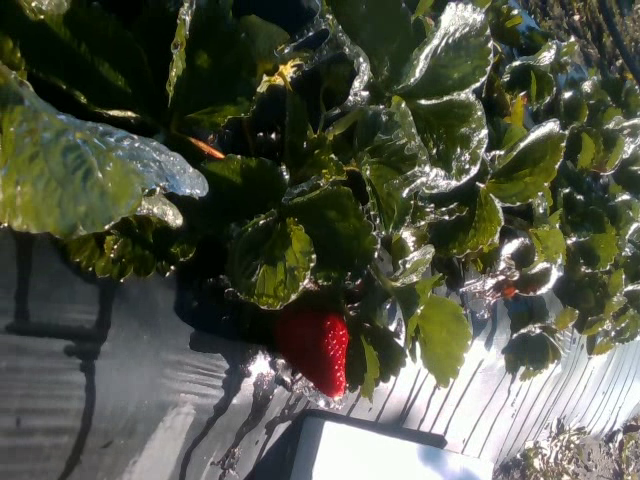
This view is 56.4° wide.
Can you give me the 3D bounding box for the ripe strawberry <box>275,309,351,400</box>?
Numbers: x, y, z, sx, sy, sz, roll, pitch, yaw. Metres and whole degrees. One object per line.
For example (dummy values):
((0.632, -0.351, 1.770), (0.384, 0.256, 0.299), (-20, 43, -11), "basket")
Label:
((0.000, 0.059, 0.303), (0.047, 0.053, 0.041), (-40, -38, 25), "ripe strawberry")
